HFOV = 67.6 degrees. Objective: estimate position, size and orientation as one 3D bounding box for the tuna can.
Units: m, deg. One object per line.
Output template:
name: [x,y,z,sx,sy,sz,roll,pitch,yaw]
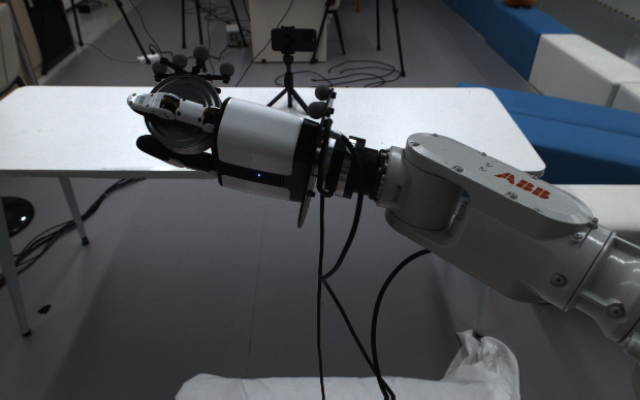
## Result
tuna can: [-0.150,-0.095,0.548,0.085,0.034,0.085,-1,76,3]
